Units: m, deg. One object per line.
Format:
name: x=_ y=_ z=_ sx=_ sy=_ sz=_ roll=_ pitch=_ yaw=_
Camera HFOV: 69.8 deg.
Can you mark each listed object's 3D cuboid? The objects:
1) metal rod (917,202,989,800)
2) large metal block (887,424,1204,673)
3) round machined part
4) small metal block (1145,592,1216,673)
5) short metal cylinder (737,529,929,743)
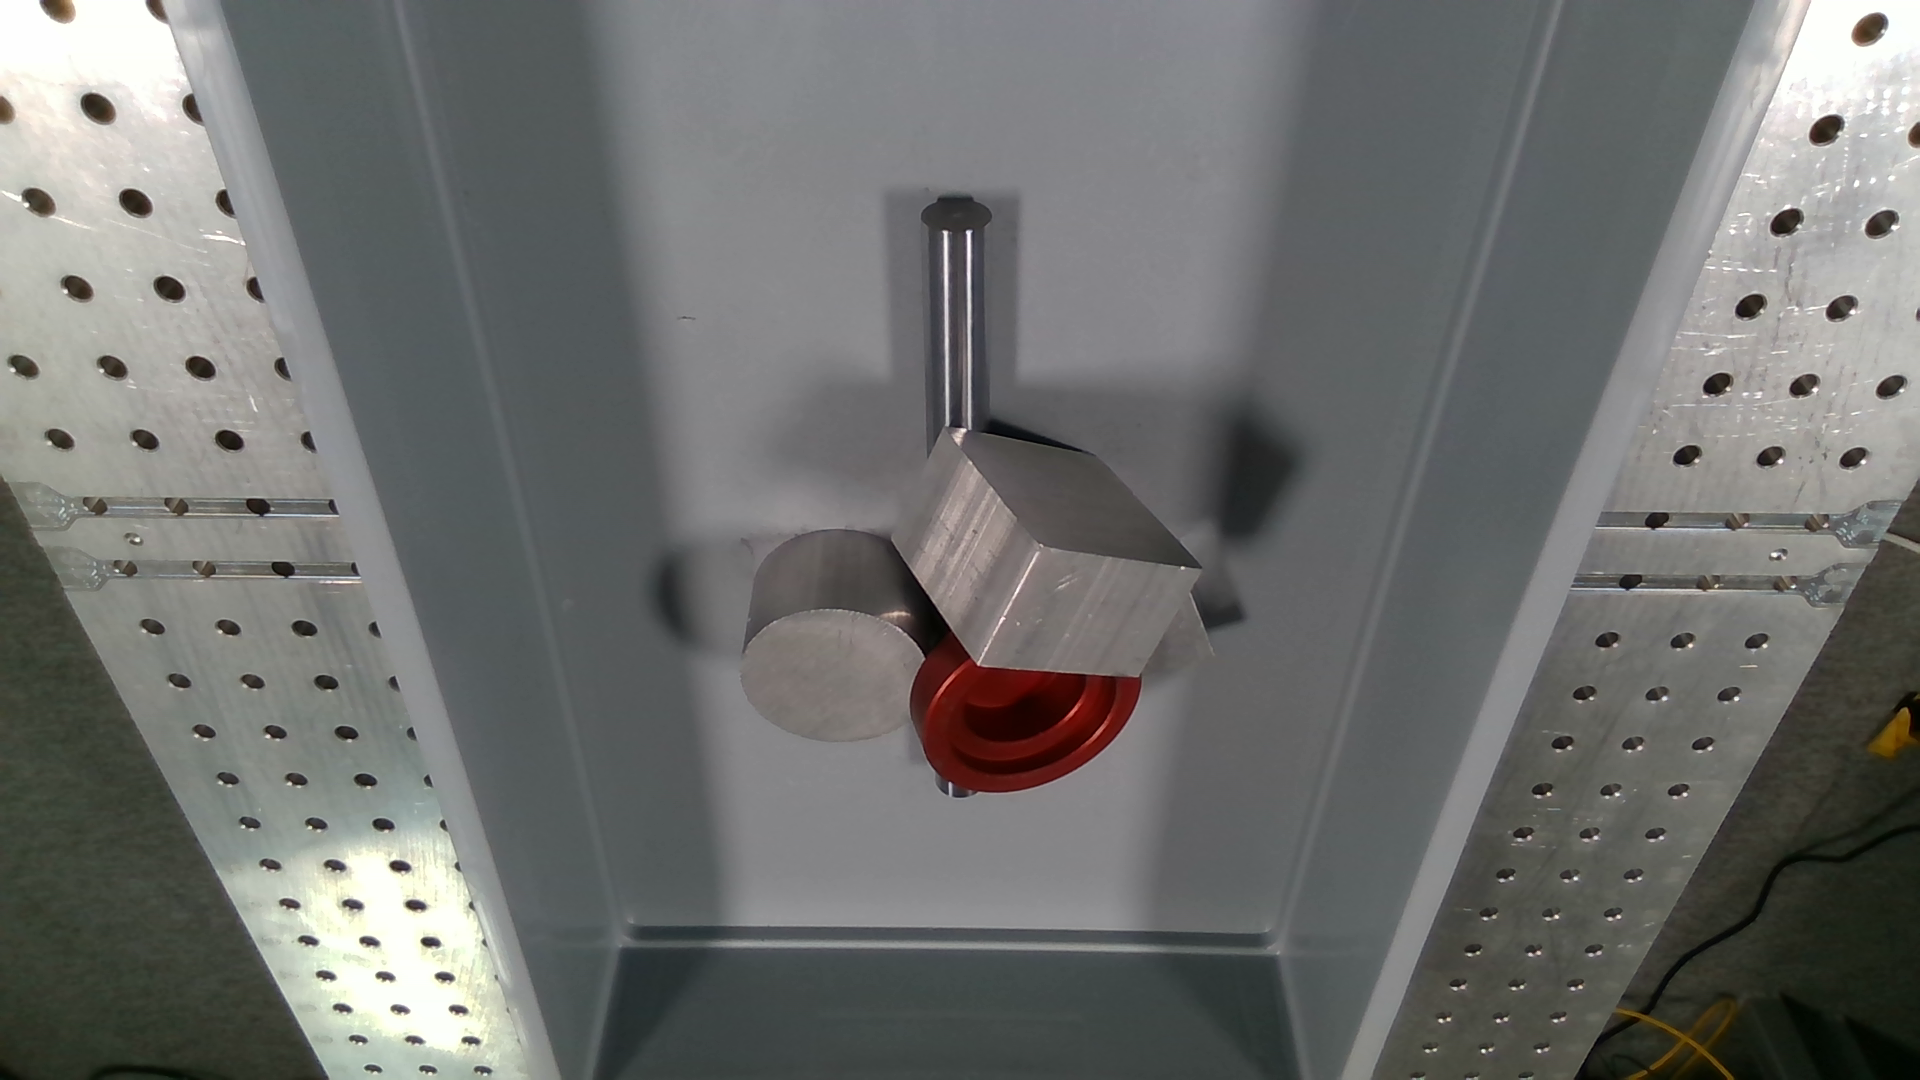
metal rod: x=-0.002 y=0.003 z=0.578 sx=0.025 sy=0.025 sz=0.301 roll=0 pitch=130 yaw=0
large metal block: x=0.031 y=0.004 z=0.526 sx=0.080 sy=0.080 sz=0.050 roll=7 pitch=122 yaw=-36
round machined part: x=0.025 y=0.060 z=0.592 sx=0.098 sy=0.042 sz=0.098 roll=-11 pitch=131 yaw=-13
small metal block: x=0.080 y=0.032 z=0.605 sx=0.050 sy=0.025 sz=0.050 roll=-16 pitch=128 yaw=13
short metal cylinder: x=-0.053 y=0.042 z=0.596 sx=0.080 sy=0.050 sz=0.080 roll=0 pitch=130 yaw=0
